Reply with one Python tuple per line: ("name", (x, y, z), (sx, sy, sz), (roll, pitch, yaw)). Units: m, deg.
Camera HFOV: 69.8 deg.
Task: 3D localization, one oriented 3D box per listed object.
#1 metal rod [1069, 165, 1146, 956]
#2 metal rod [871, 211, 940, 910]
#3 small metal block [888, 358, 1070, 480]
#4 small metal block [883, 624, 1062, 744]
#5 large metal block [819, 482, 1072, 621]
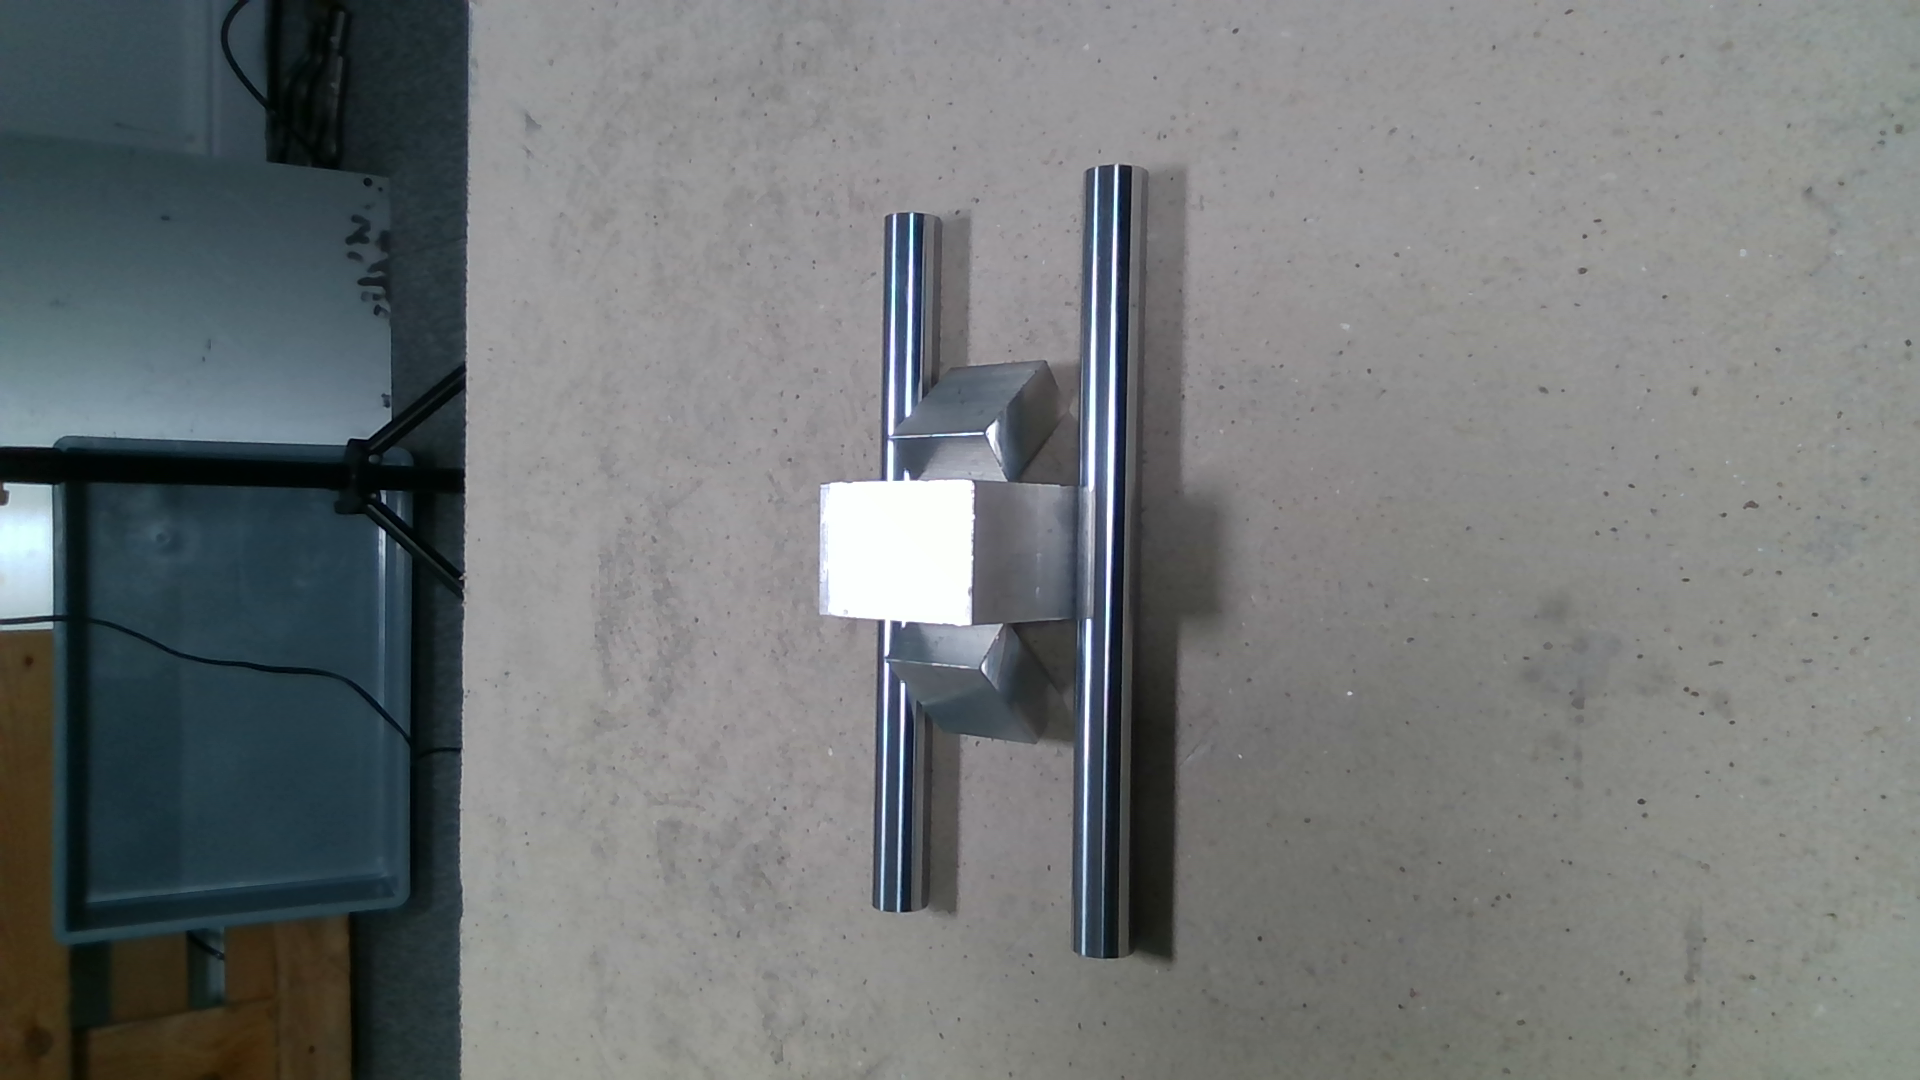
("metal rod", (0.057, 0.009, 0.534), (0.025, 0.025, 0.300), (2, 92, 40))
("metal rod", (-0.024, 0.010, 0.602), (0.025, 0.025, 0.300), (2, 92, 40))
("small metal block", (0.008, -0.047, 0.557), (0.050, 0.050, 0.025), (1, 130, 41))
("small metal block", (0.006, 0.056, 0.560), (0.050, 0.050, 0.025), (1, 49, 40))
("large metal block", (0.001, 0.004, 0.548), (0.080, 0.080, 0.050), (1, 91, 40))
